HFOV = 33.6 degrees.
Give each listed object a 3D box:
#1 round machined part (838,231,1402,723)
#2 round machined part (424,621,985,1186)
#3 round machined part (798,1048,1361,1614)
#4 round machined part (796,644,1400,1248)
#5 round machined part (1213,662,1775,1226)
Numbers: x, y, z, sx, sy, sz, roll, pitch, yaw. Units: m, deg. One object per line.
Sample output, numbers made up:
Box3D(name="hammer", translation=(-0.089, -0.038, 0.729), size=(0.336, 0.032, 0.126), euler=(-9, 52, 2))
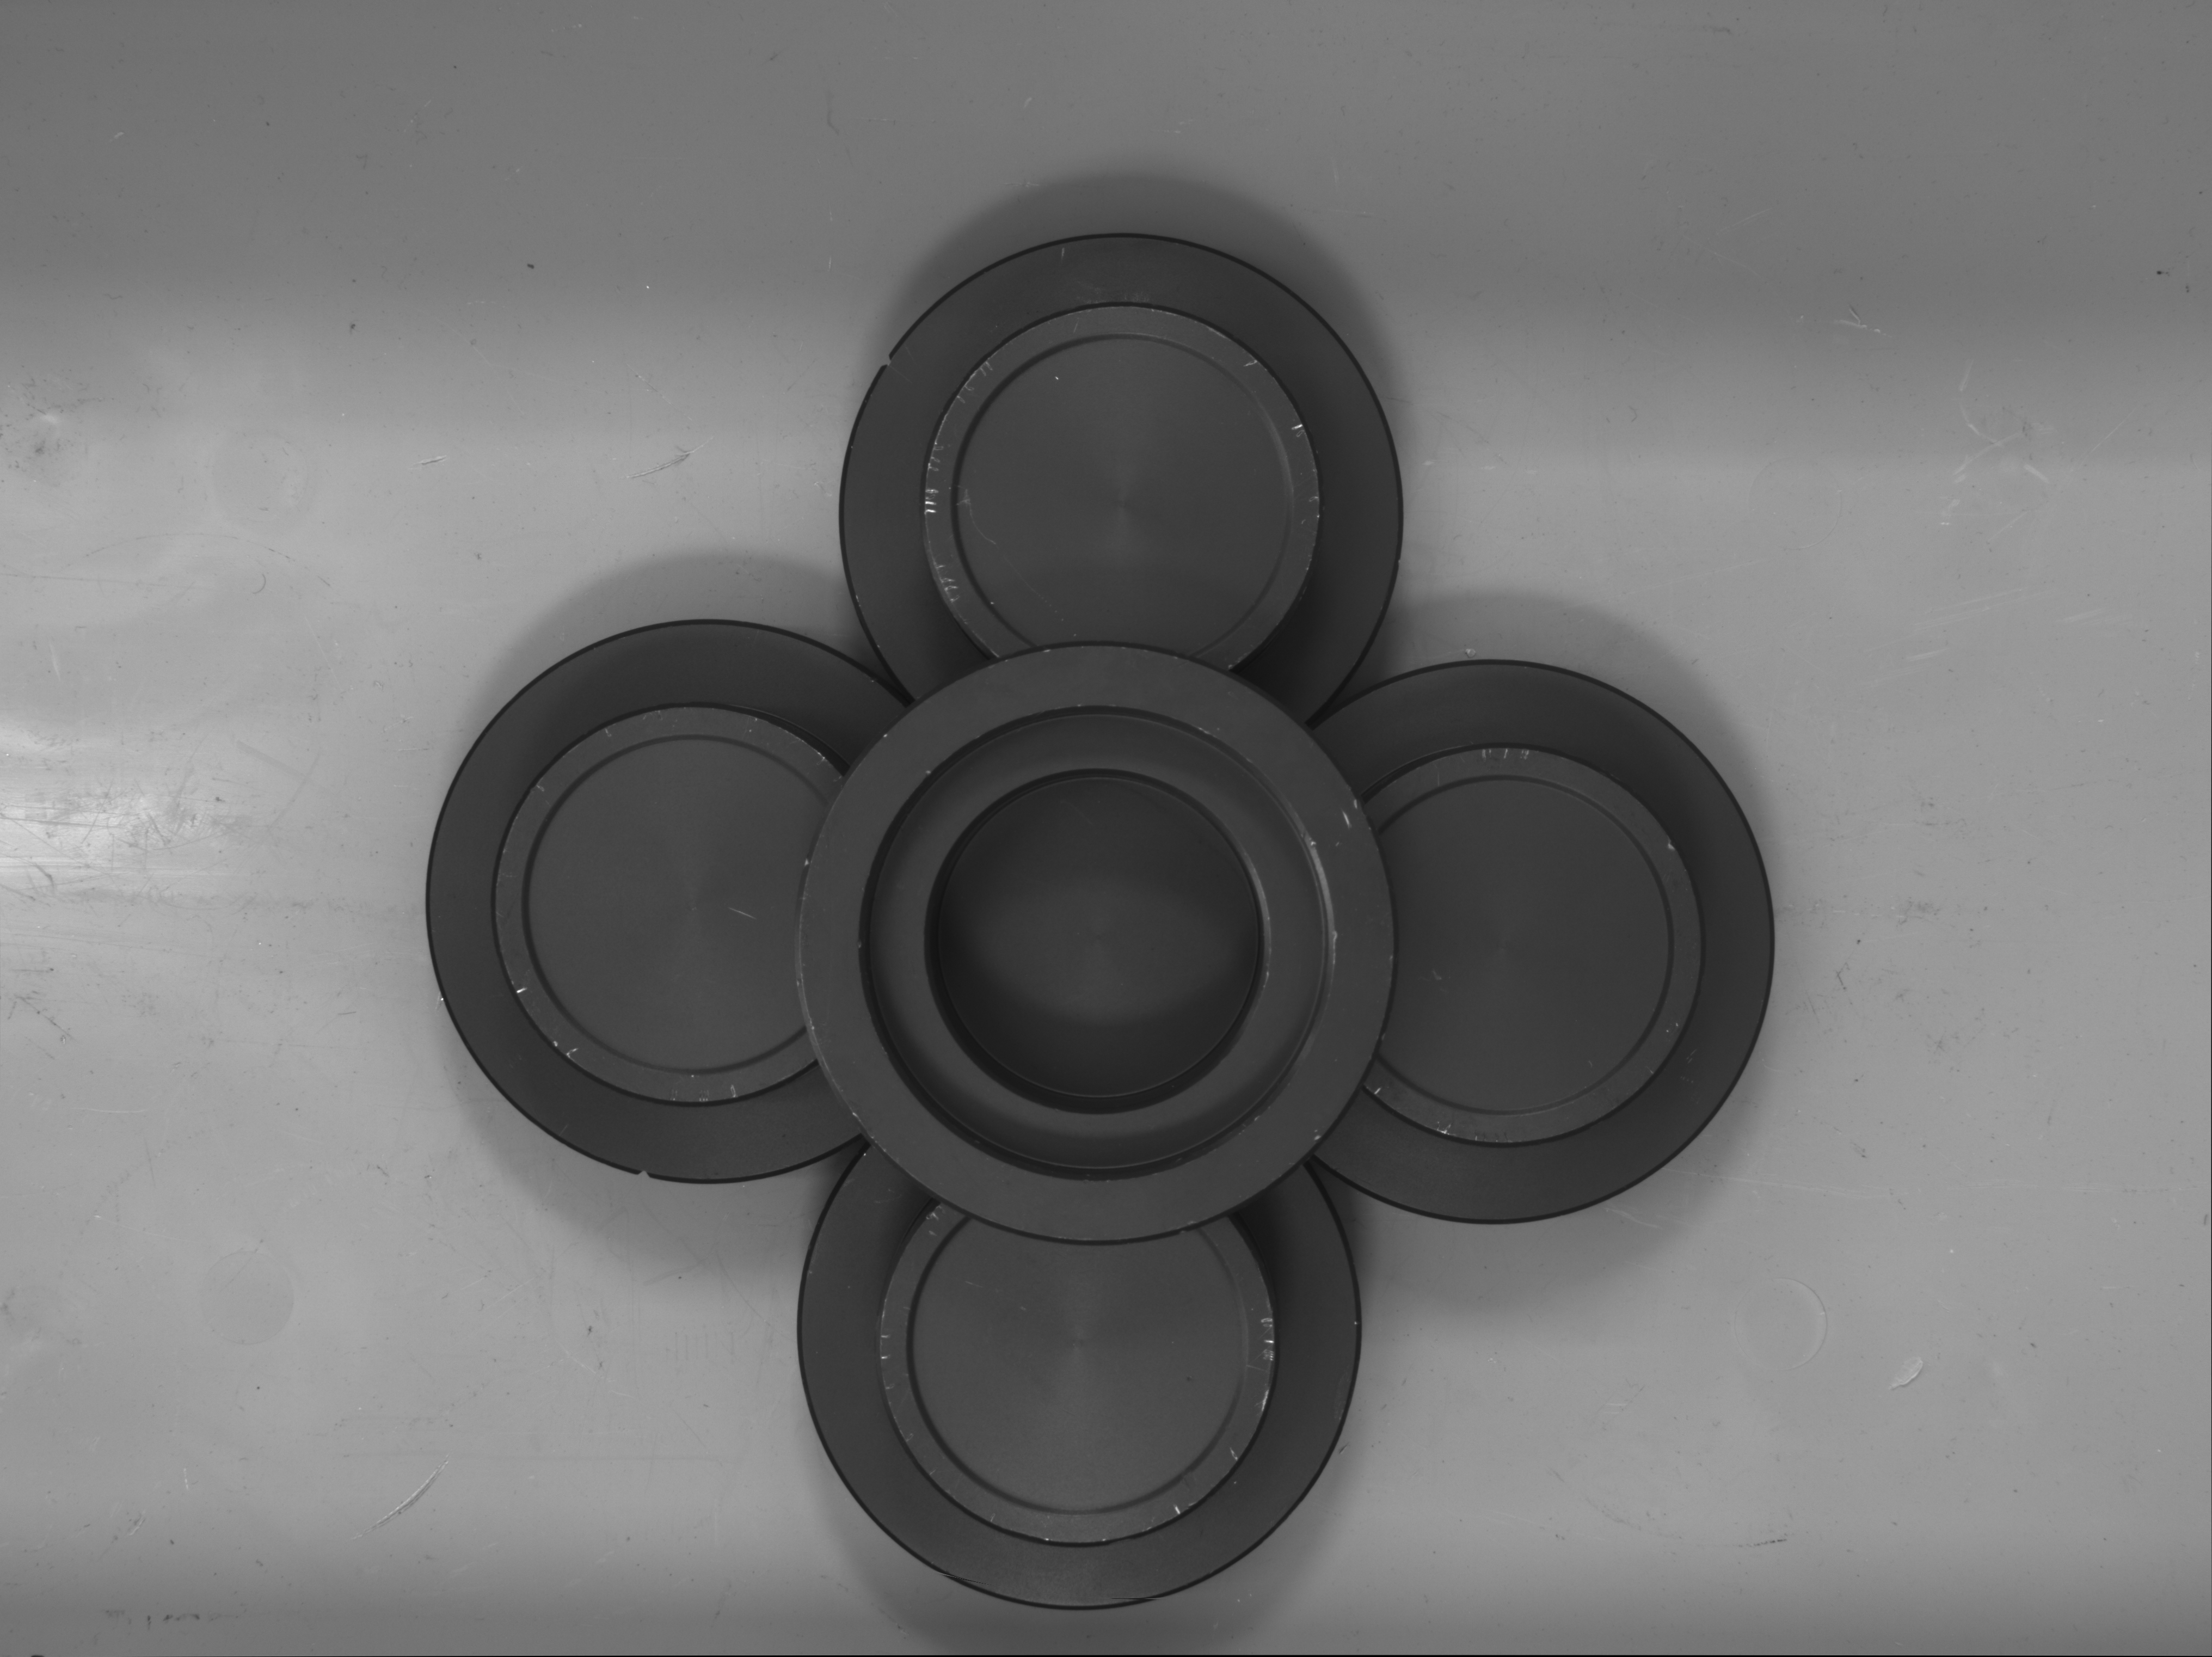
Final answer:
Box3D(name="round machined part", translation=(0.003, -0.054, 0.634), size=(0.098, 0.042, 0.098), euler=(0, 90, 0))
Box3D(name="round machined part", translation=(-0.069, 0.013, 0.635), size=(0.098, 0.042, 0.098), euler=(0, 90, 0))
Box3D(name="round machined part", translation=(-0.004, 0.087, 0.635), size=(0.098, 0.042, 0.098), euler=(0, 88, -1))
Box3D(name="round machined part", translation=(-0.001, 0.019, 0.614), size=(0.098, 0.042, 0.098), euler=(0, 90, 0))
Box3D(name="round machined part", translation=(0.067, 0.020, 0.635), size=(0.098, 0.042, 0.098), euler=(0, 90, 0))
